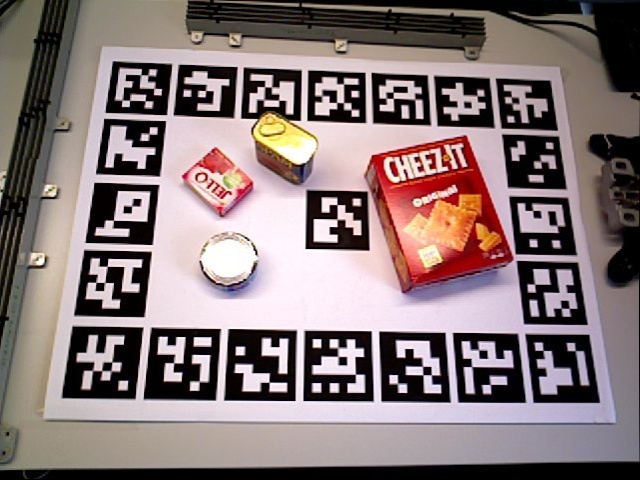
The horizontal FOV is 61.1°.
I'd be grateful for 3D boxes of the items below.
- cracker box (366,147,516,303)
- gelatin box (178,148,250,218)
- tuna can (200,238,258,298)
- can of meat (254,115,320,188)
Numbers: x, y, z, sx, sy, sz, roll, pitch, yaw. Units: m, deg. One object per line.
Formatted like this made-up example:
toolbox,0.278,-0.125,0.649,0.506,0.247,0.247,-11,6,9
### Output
cracker box,0.185,-0.027,0.847,0.162,0.073,0.212,-13,71,-10
gelatin box,-0.167,-0.091,0.861,0.089,0.030,0.072,43,70,7
tuna can,-0.135,0.043,0.812,0.085,0.034,0.085,1,74,-3
can of meat,-0.053,-0.137,0.864,0.102,0.085,0.057,31,70,8
